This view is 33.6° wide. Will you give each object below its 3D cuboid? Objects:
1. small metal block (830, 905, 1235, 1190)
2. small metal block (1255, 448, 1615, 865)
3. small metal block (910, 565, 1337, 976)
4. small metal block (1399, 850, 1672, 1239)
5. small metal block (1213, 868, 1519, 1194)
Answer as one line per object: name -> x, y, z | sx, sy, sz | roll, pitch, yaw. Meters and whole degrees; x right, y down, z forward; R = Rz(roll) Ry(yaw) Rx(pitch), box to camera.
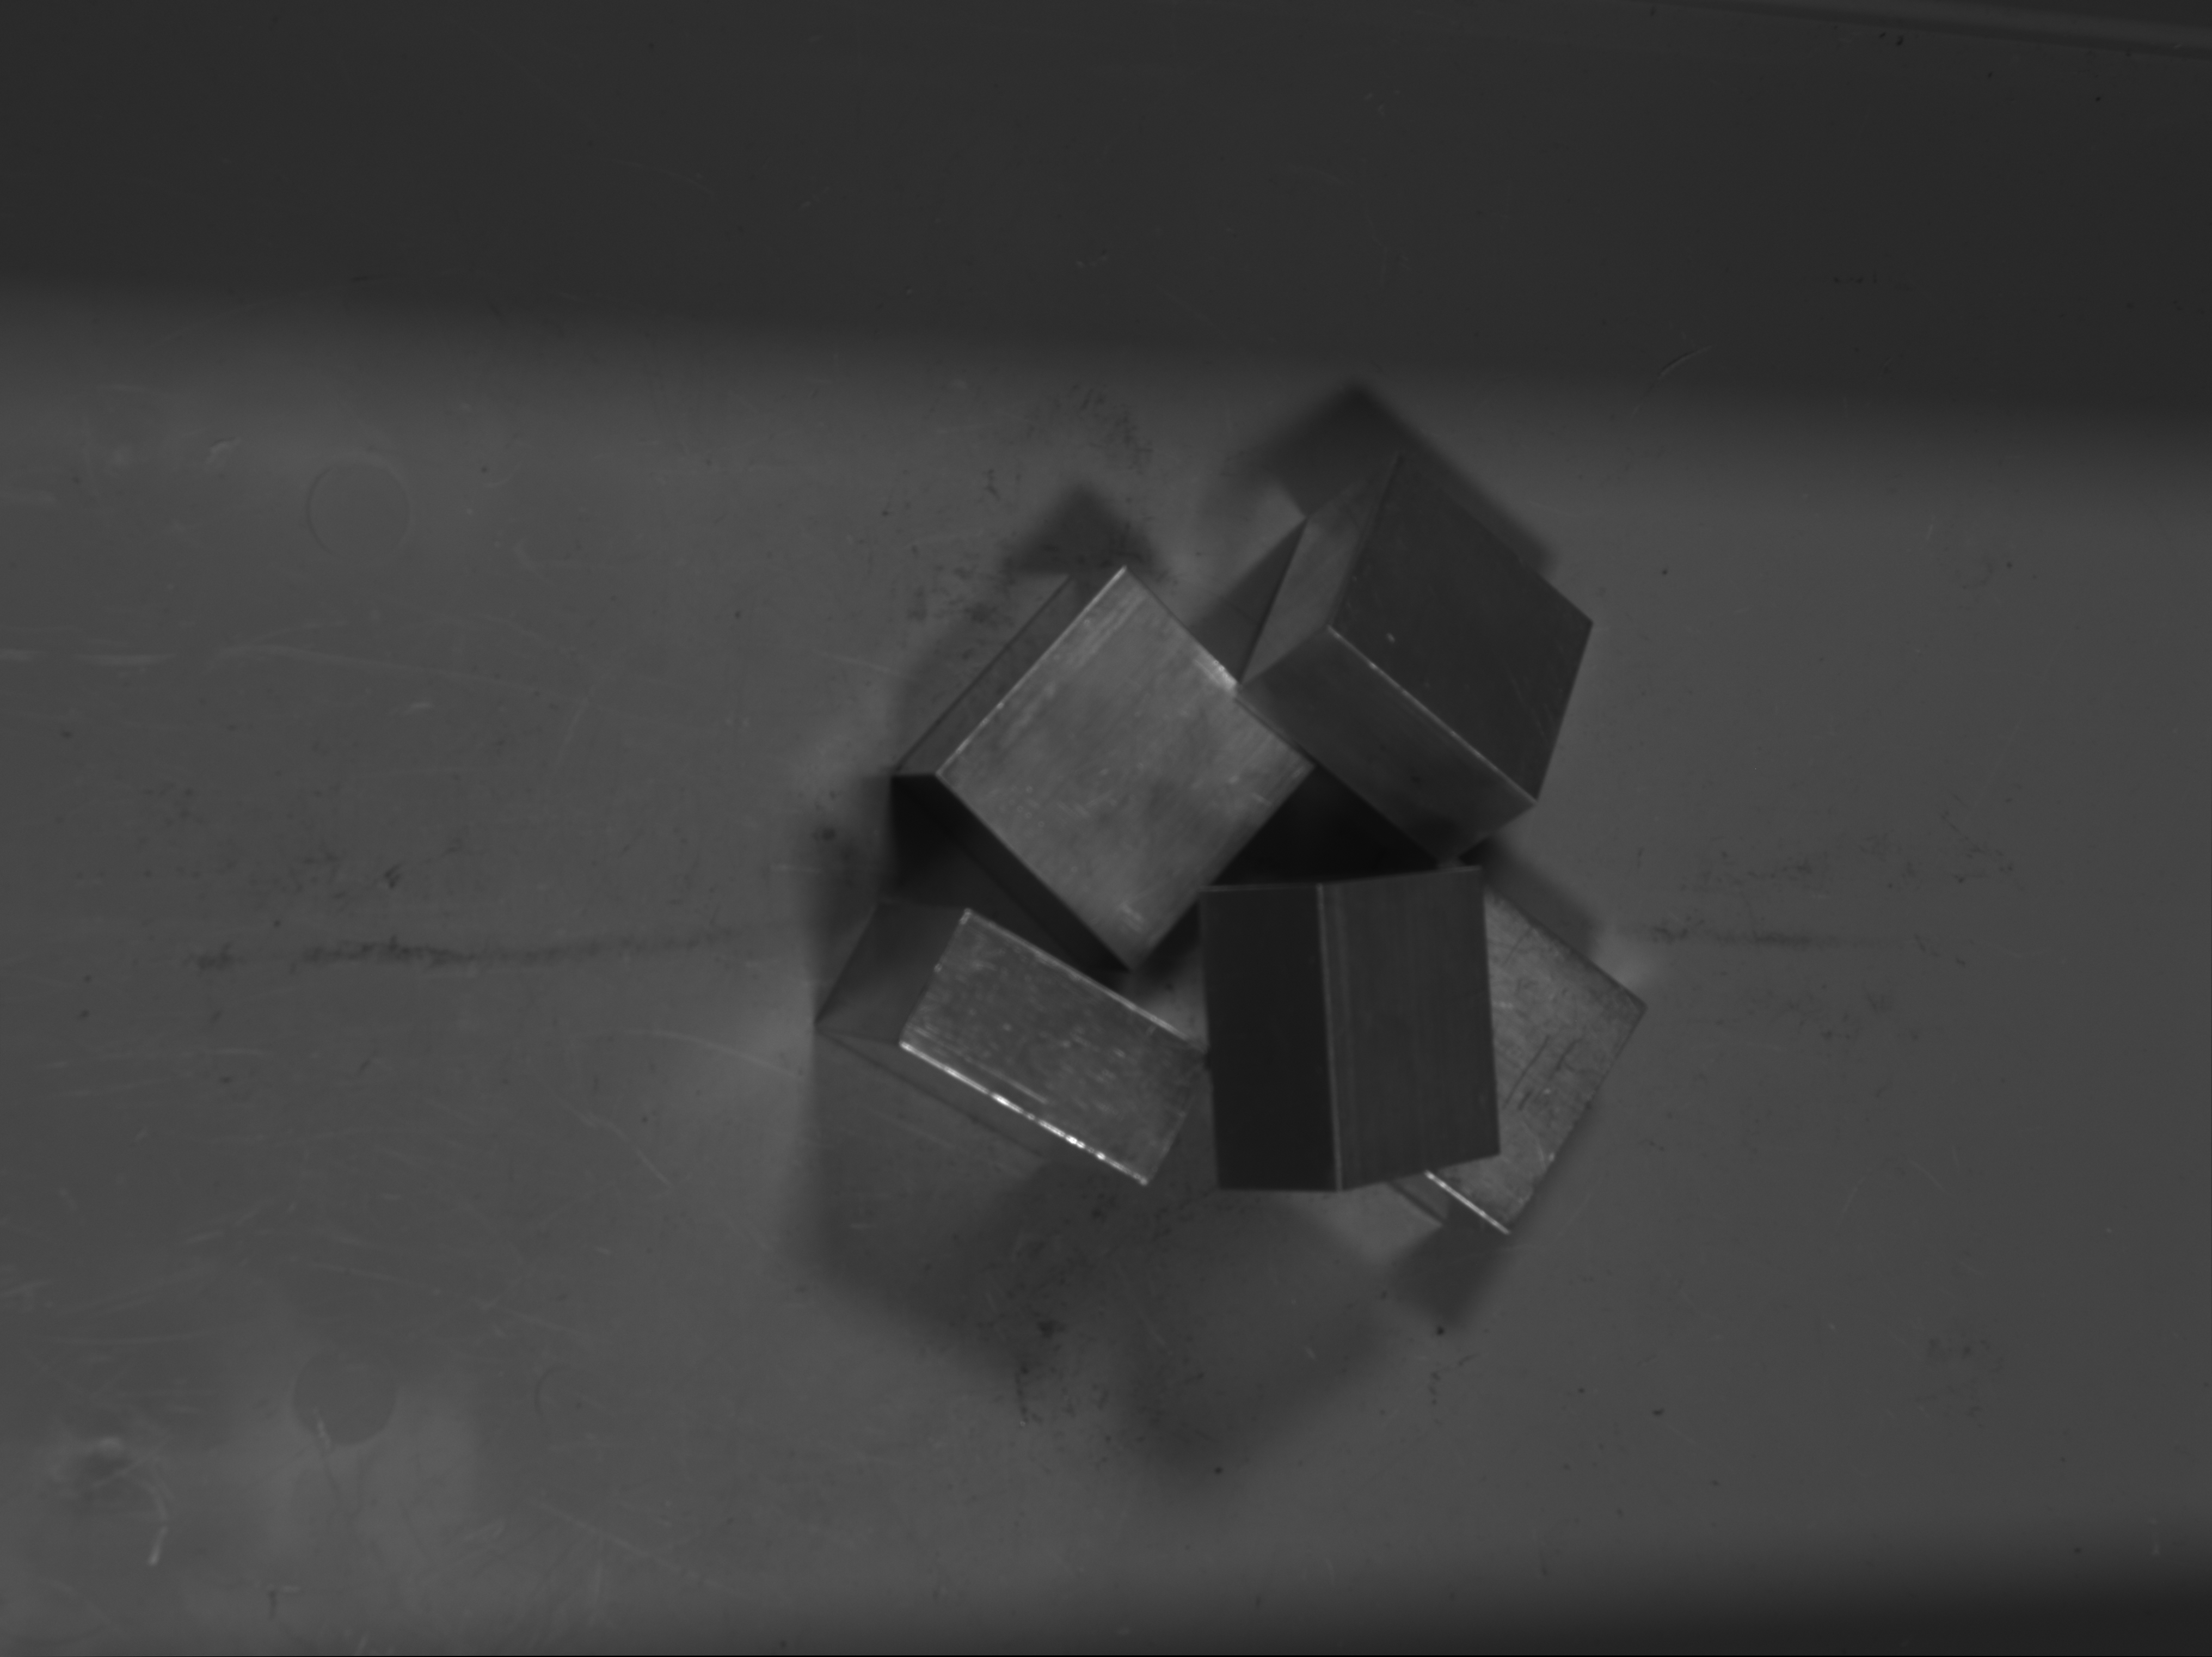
small metal block -> -0.013, 0.036, 0.623 | 0.050, 0.050, 0.025 | 31, 80, -17
small metal block -> 0.059, -0.031, 0.652 | 0.050, 0.025, 0.050 | 39, 45, -16
small metal block -> 0.003, -0.010, 0.642 | 0.050, 0.025, 0.050 | 45, 76, -14
small metal block -> 0.066, 0.039, 0.666 | 0.050, 0.025, 0.050 | 37, 78, -16
small metal block -> 0.045, 0.034, 0.620 | 0.050, 0.025, 0.050 | -5, 92, -52
